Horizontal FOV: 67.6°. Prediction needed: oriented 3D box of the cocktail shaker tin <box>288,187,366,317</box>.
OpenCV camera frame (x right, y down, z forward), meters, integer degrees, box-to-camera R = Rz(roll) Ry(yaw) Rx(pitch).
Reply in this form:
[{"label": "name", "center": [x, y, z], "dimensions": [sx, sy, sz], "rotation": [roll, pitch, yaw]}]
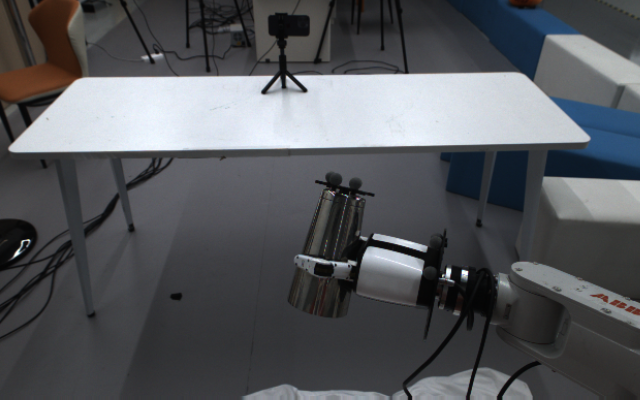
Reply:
[{"label": "cocktail shaker tin", "center": [0.016, 0.073, 0.707], "dimensions": [0.093, 0.170, 0.093], "rotation": [13, 5, -1]}]
